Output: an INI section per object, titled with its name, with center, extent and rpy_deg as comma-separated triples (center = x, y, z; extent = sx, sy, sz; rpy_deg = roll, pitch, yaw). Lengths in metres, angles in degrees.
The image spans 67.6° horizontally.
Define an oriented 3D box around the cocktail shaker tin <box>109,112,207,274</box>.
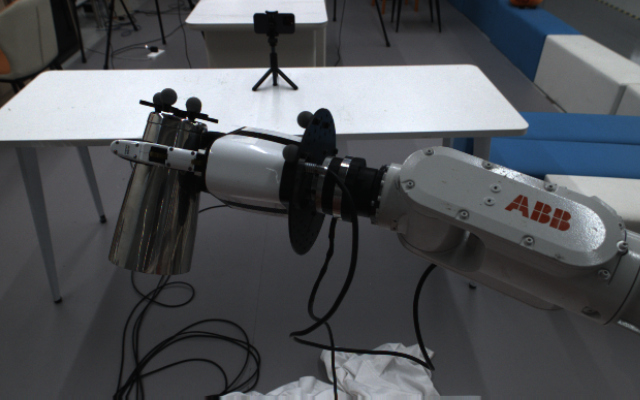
[cocktail shaker tin]
center = -0.178, -0.011, 0.558
extent = 0.093, 0.170, 0.093
rpy_deg = 13, 3, -1
